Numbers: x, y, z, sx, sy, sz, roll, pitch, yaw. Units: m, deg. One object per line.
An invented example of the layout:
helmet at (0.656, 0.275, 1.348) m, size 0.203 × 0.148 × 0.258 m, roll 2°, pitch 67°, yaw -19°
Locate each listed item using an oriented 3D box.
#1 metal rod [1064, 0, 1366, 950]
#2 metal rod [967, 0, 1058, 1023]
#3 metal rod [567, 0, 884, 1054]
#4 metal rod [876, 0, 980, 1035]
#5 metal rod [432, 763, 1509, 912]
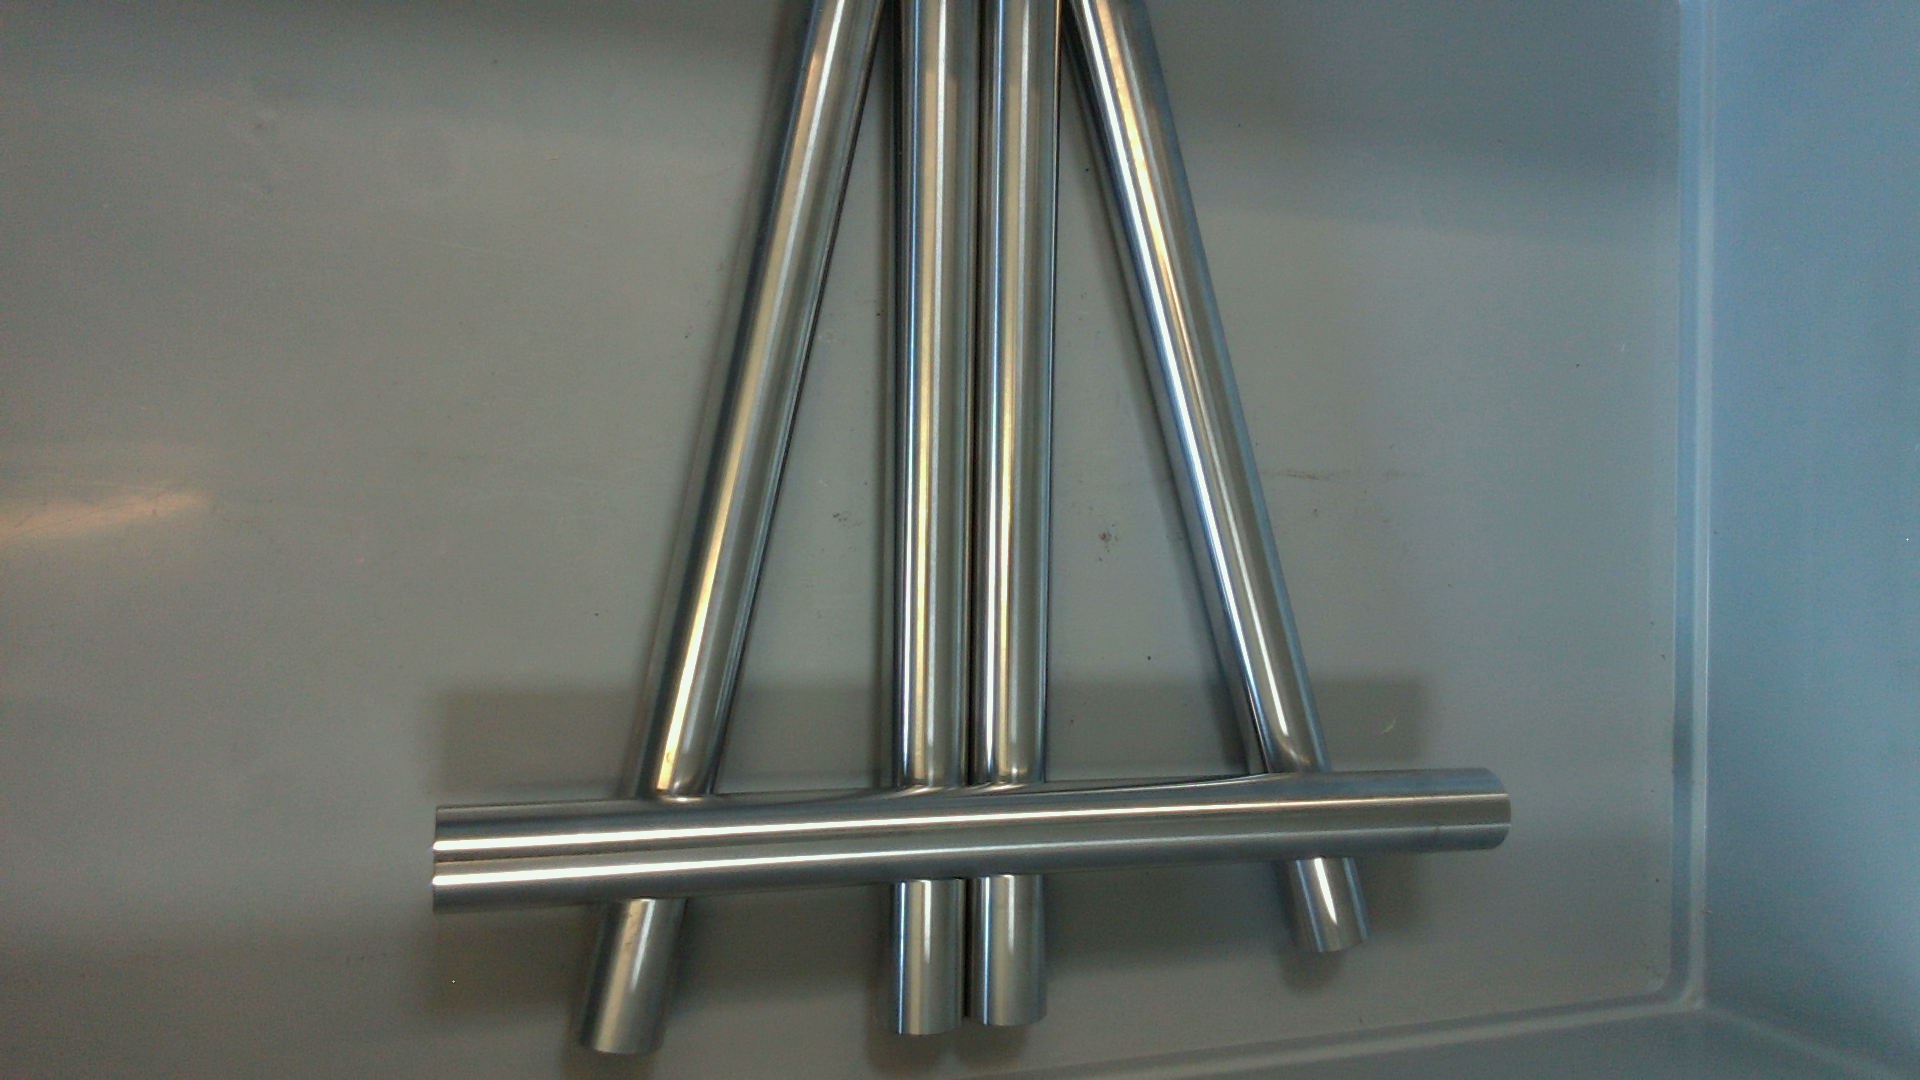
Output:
metal rod at (0.078, -0.020, 0.421) m, size 0.025 × 0.025 × 0.300 m, roll -17°, pitch 96°, yaw -19°
metal rod at (0.014, -0.015, 0.398) m, size 0.025 × 0.025 × 0.300 m, roll 1°, pitch 90°, yaw -20°
metal rod at (-0.061, -0.017, 0.371) m, size 0.025 × 0.025 × 0.300 m, roll 13°, pitch 86°, yaw -19°
metal rod at (-0.009, -0.015, 0.389) m, size 0.025 × 0.025 × 0.300 m, roll 1°, pitch 90°, yaw -20°
metal rod at (0.019, 0.078, 0.372) m, size 0.301 × 0.025 × 0.025 m, roll 1°, pitch 90°, yaw -20°
